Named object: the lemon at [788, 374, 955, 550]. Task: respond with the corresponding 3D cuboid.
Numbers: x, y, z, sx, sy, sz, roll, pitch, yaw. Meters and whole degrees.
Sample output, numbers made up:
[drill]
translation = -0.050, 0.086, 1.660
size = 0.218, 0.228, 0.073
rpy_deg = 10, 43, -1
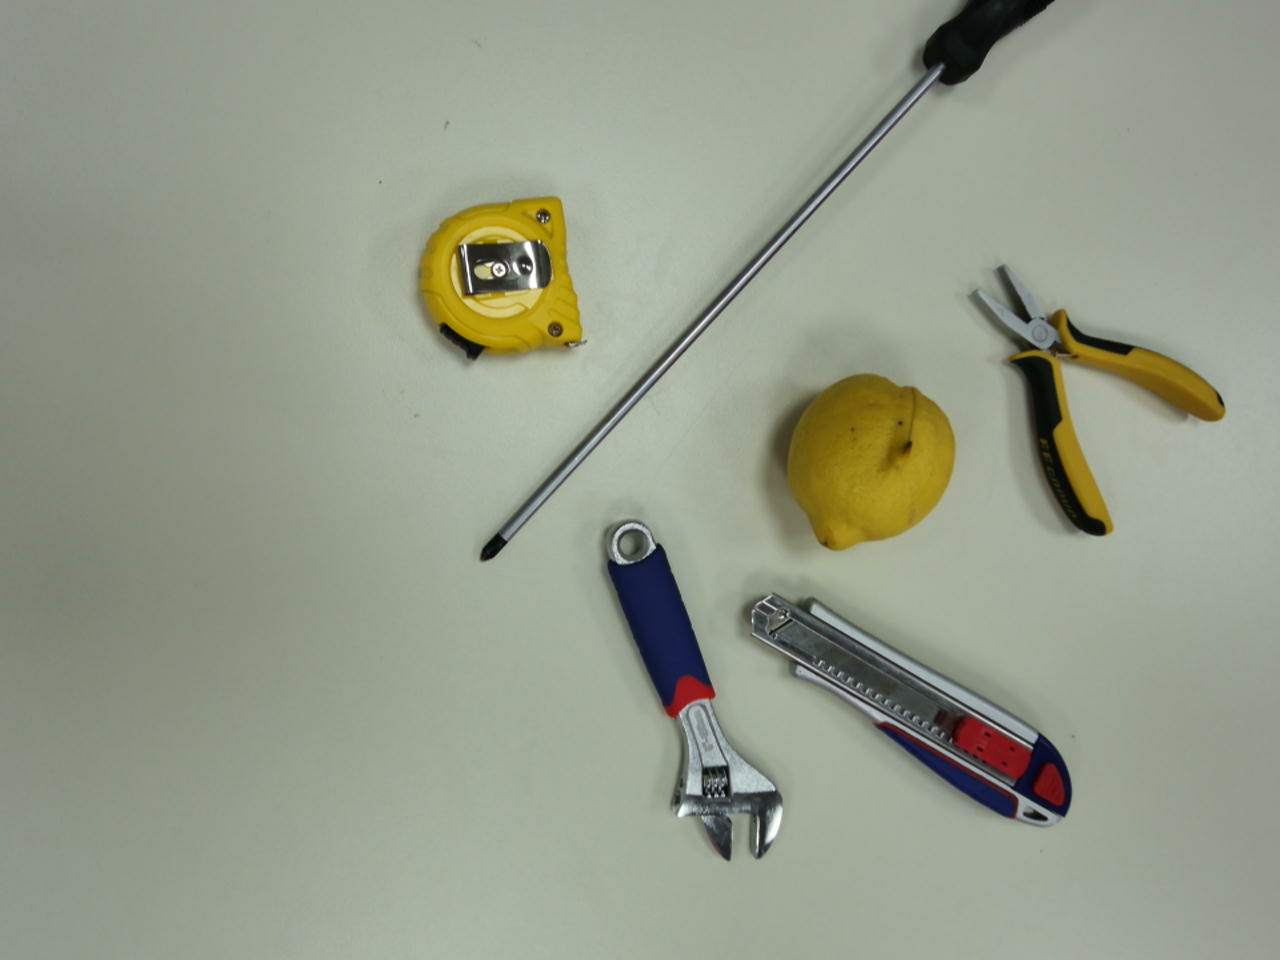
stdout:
[lemon]
translation = 0.098, -0.009, 0.425
size = 0.071, 0.071, 0.070
rpy_deg = -24, 95, -10
